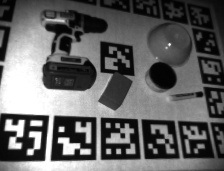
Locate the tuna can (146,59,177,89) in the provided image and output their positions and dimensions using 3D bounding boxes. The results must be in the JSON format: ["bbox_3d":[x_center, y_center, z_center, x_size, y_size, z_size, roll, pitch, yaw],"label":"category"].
[{"bbox_3d":[0.142,-0.032,0.627,0.086,0.033,0.085,8,68,-18],"label":"tuna can"}]

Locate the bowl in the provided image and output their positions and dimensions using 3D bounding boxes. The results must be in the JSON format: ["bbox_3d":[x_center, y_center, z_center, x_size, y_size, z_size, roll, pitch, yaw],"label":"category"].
[{"bbox_3d":[0.188,-0.149,0.687,0.162,0.055,0.161,7,61,-12],"label":"bowl"}]

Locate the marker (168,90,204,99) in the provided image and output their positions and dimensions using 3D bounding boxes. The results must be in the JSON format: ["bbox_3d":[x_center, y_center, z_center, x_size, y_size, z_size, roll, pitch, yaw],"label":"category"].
[{"bbox_3d":[0.223,0.026,0.640,0.122,0.019,0.019,-4,73,-21],"label":"marker"}]

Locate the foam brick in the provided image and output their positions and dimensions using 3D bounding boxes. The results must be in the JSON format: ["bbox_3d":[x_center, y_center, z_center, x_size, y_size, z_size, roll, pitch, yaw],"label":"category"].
[{"bbox_3d":[0.005,0.011,0.562,0.051,0.052,0.078,28,65,-7],"label":"foam brick"}]

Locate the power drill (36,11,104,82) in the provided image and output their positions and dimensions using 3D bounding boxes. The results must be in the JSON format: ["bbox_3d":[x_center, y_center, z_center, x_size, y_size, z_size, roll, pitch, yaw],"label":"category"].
[{"bbox_3d":[-0.106,-0.105,0.563,0.186,0.057,0.186,5,66,-20],"label":"power drill"}]
